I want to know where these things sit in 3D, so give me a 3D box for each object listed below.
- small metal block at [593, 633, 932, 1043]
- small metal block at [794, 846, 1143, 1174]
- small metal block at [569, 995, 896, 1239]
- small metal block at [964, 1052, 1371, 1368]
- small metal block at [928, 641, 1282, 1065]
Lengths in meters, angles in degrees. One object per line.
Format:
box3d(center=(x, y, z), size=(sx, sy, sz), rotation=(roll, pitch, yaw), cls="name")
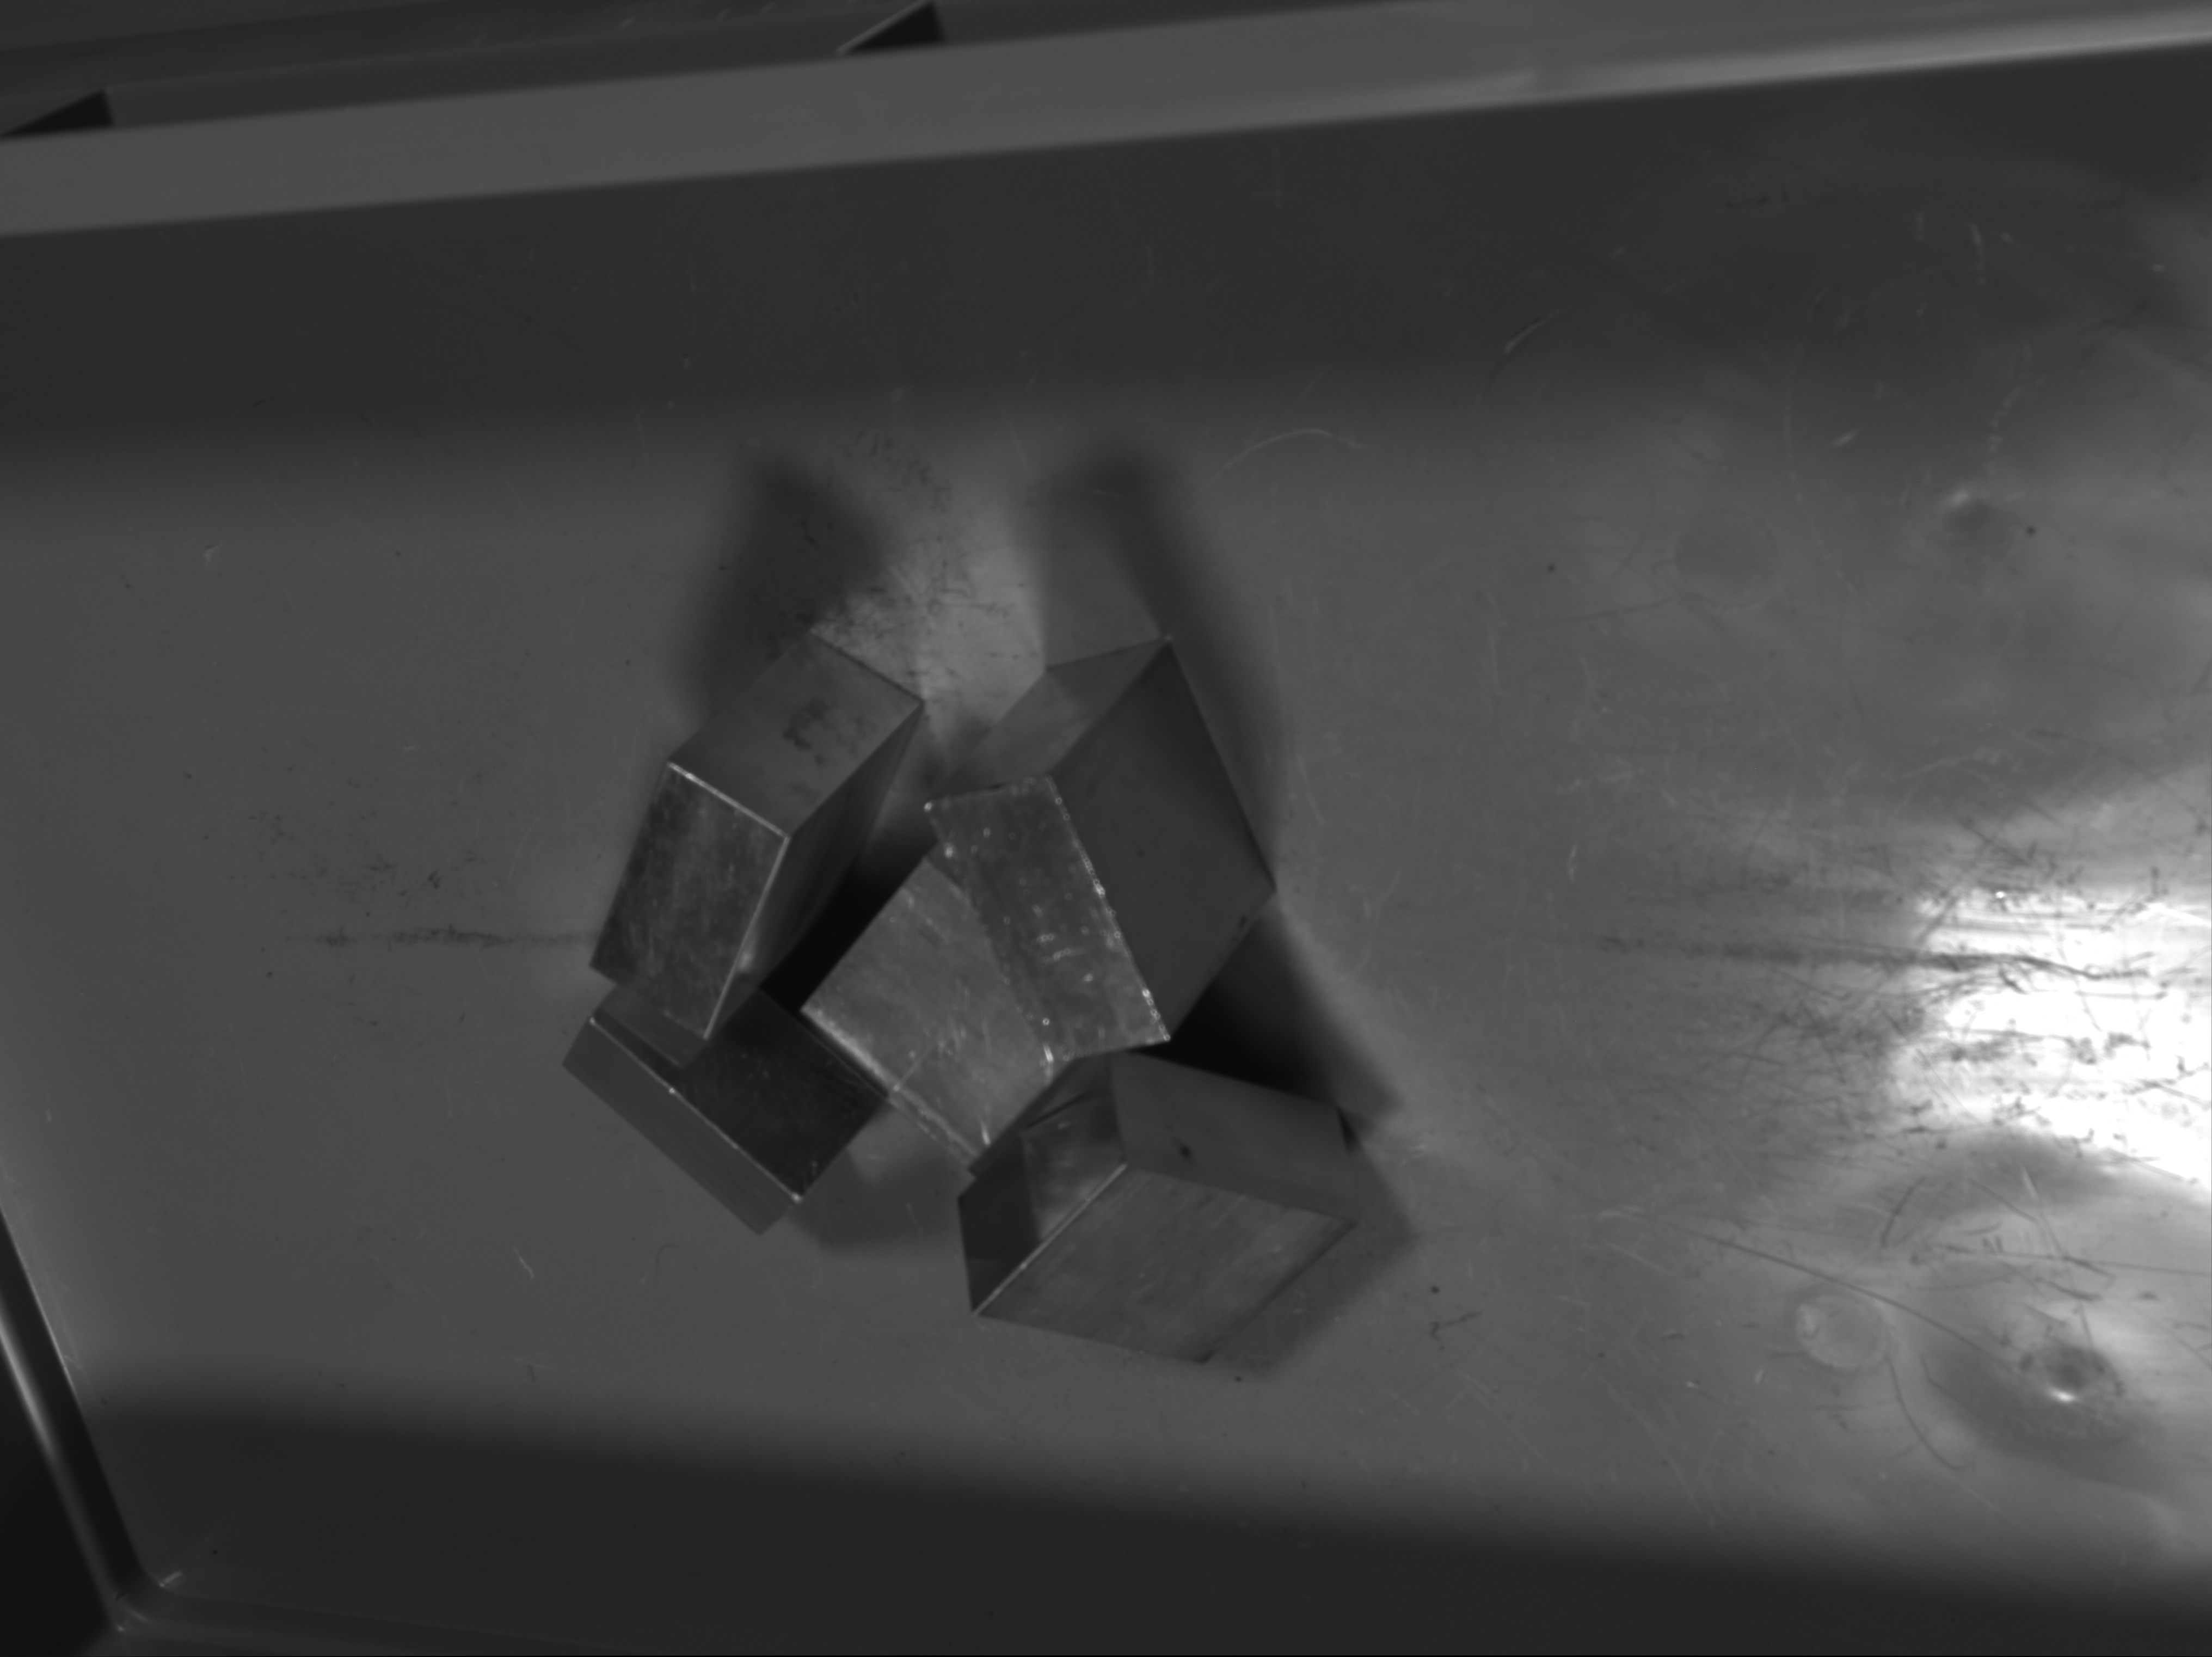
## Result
box3d(center=(-0.060, 0.001, 0.644), size=(0.025, 0.050, 0.050), rotation=(32, 128, 7), cls="small metal block")
box3d(center=(-0.020, 0.030, 0.657), size=(0.050, 0.025, 0.050), rotation=(41, 128, -1), cls="small metal block")
box3d(center=(-0.070, 0.047, 0.678), size=(0.050, 0.025, 0.050), rotation=(42, 161, -1), cls="small metal block")
box3d(center=(0.010, 0.068, 0.649), size=(0.050, 0.025, 0.050), rotation=(17, 135, -29), cls="small metal block")
box3d(center=(0.001, 0.004, 0.615), size=(0.025, 0.050, 0.050), rotation=(-12, 112, 31), cls="small metal block")
